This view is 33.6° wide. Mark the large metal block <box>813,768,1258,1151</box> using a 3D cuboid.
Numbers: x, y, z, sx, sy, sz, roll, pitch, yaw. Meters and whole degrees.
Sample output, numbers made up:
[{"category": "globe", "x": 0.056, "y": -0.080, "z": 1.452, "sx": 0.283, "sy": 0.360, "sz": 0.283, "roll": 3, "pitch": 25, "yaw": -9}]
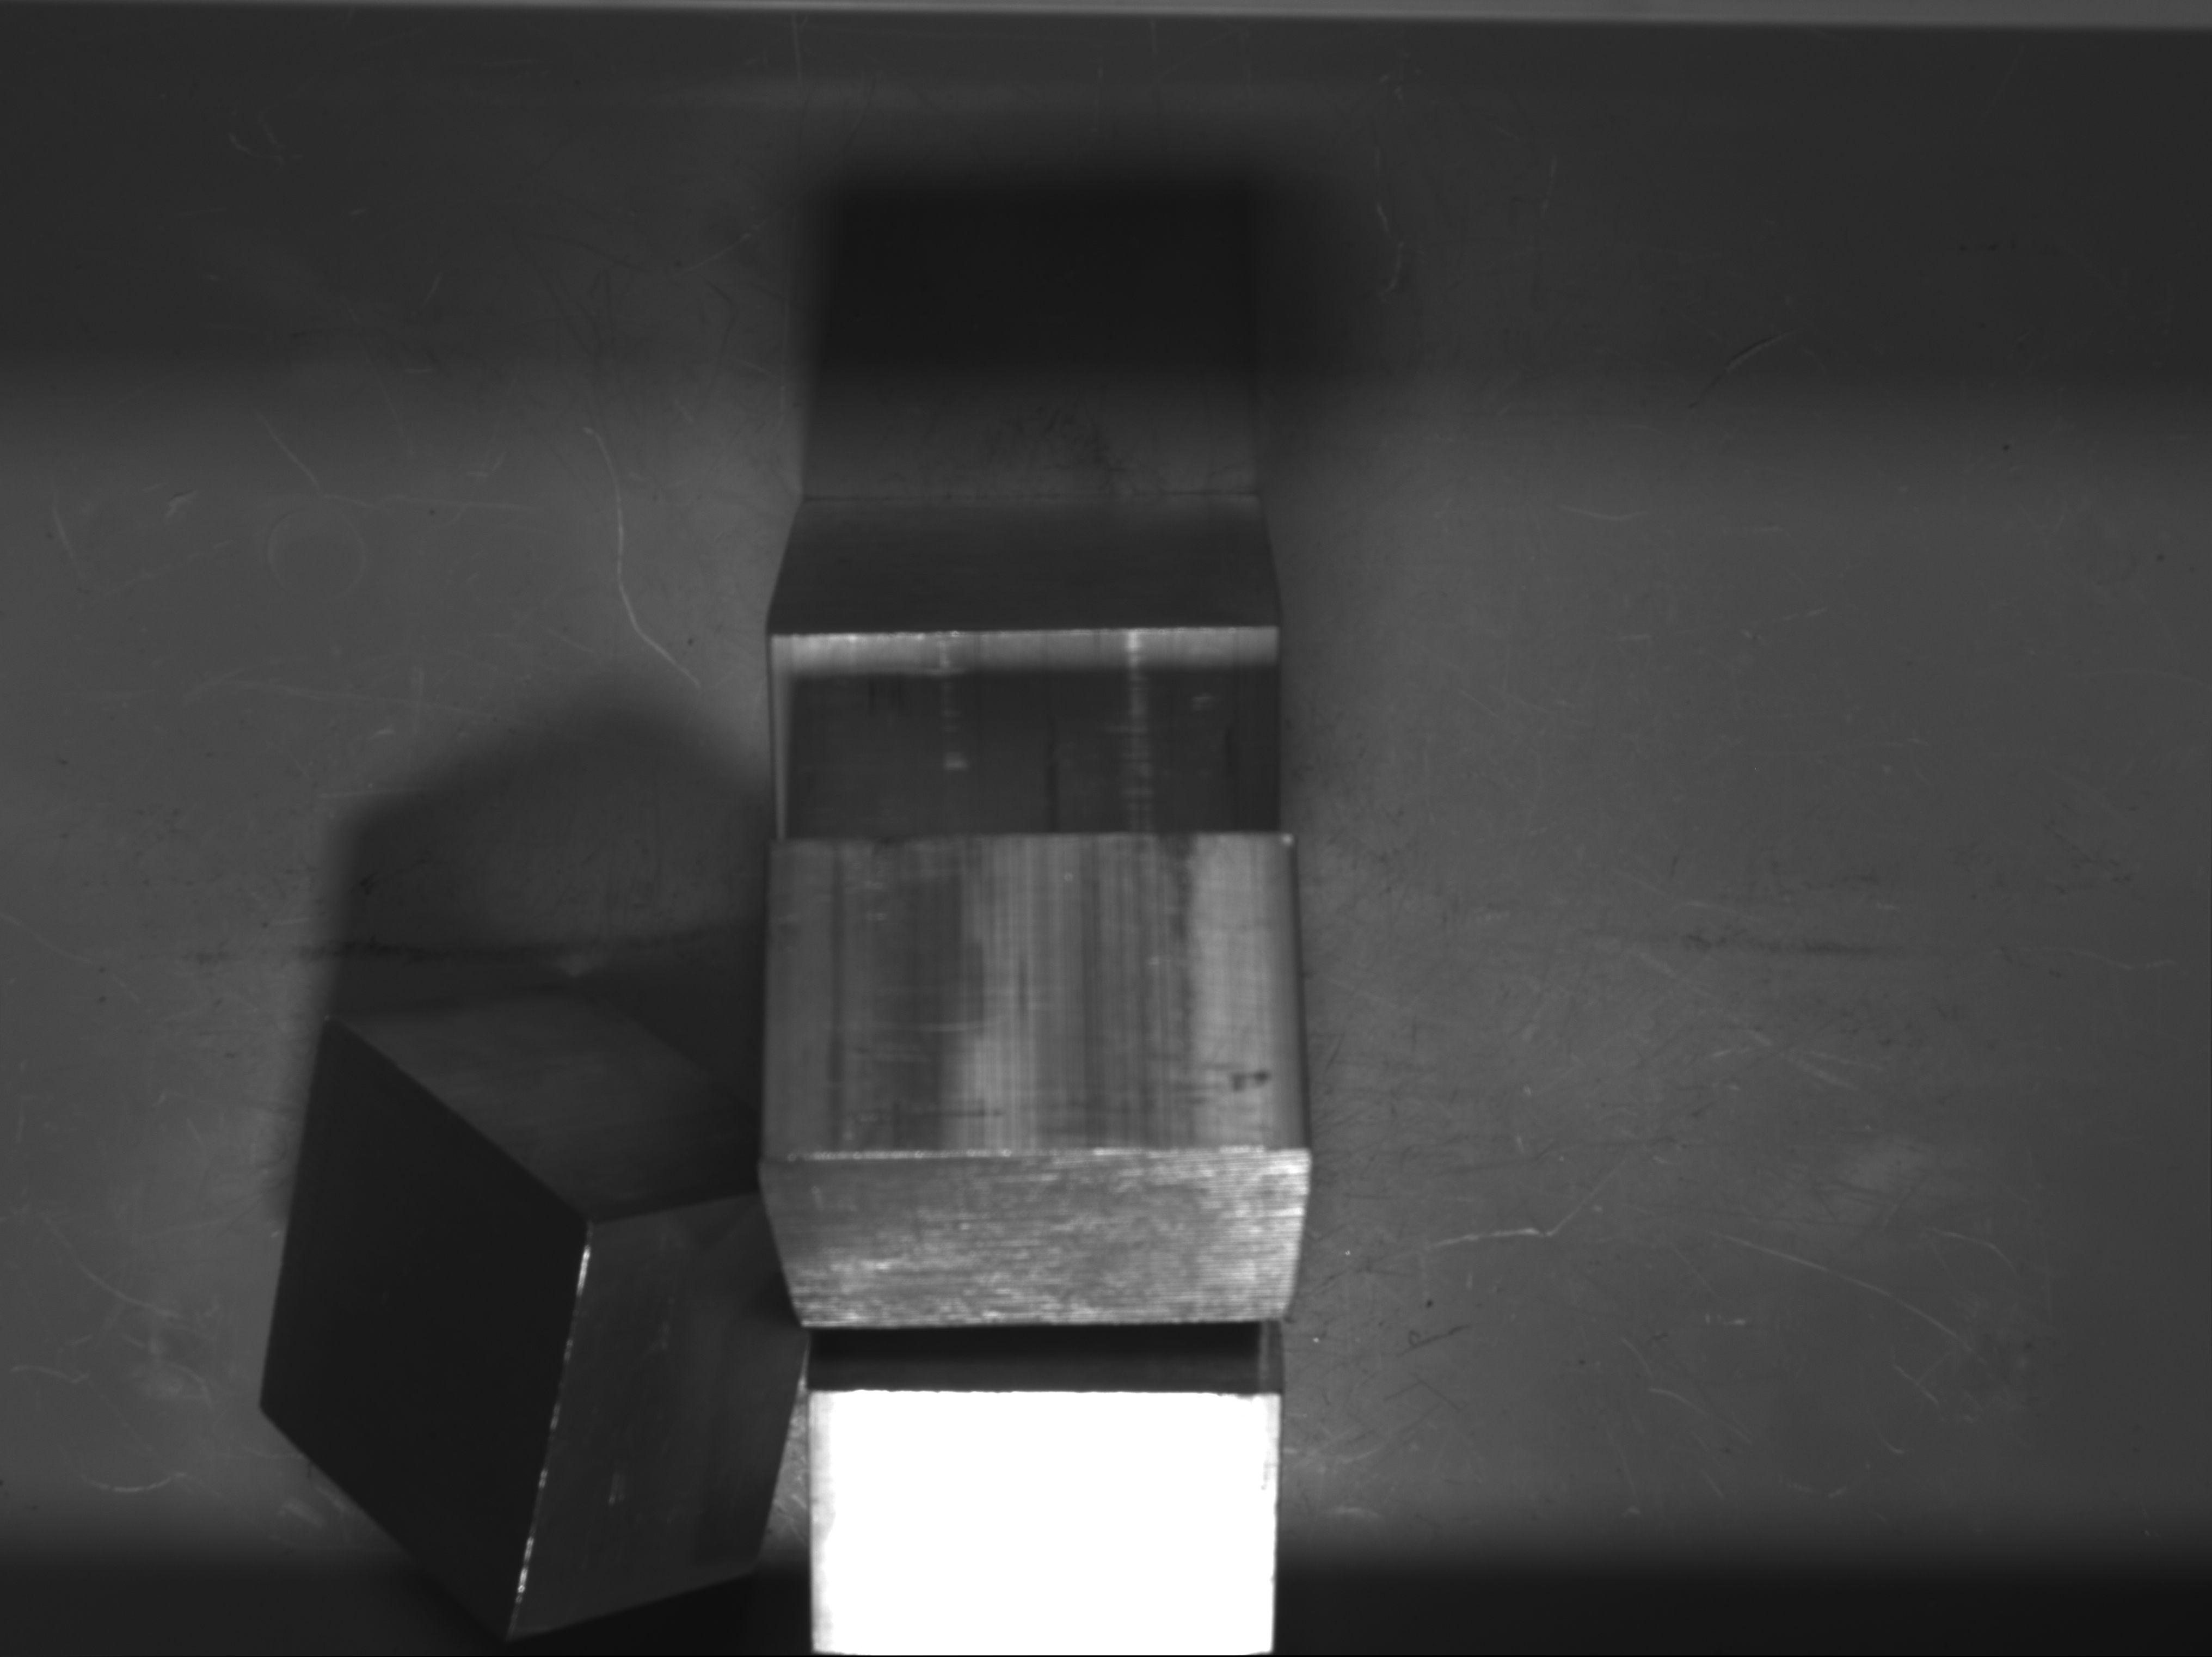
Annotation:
[{"category": "large metal block", "x": -0.012, "y": 0.035, "z": 0.643, "sx": 0.080, "sy": 0.050, "sz": 0.080, "roll": -1, "pitch": 110, "yaw": 0}]

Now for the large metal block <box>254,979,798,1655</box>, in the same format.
[{"category": "large metal block", "x": -0.099, "y": 0.082, "z": 0.632, "sx": 0.050, "sy": 0.080, "sz": 0.080, "roll": -7, "pitch": 118, "yaw": -44}]

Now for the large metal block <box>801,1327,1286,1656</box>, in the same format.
[{"category": "large metal block", "x": -0.011, "y": 0.104, "z": 0.649, "sx": 0.080, "sy": 0.080, "sz": 0.050, "roll": 0, "pitch": 110, "yaw": -1}]

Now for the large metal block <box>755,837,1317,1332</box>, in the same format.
[{"category": "large metal block", "x": -0.010, "y": 0.041, "z": 0.568, "sx": 0.080, "sy": 0.080, "sz": 0.050, "roll": -1, "pitch": 65, "yaw": 0}]

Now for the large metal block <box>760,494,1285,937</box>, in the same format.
[{"category": "large metal block", "x": -0.013, "y": -0.020, "z": 0.604, "sx": 0.080, "sy": 0.080, "sz": 0.050, "roll": -1, "pitch": 110, "yaw": 0}]
